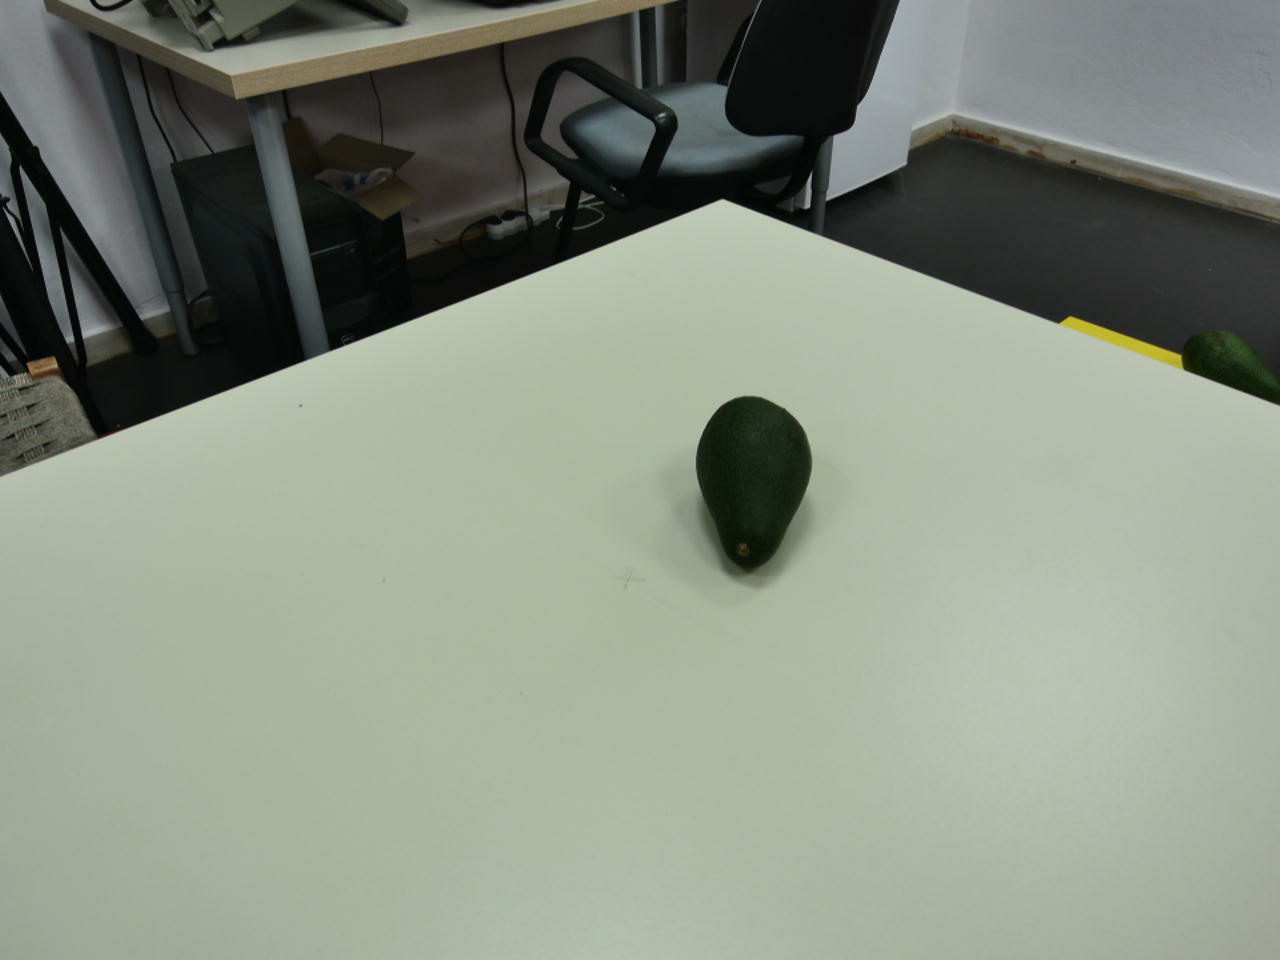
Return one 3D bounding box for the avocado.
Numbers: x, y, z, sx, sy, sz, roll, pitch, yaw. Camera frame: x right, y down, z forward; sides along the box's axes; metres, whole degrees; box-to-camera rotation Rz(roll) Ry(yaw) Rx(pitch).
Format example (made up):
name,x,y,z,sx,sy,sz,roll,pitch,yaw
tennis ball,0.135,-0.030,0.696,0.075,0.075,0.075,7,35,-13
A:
name,x,y,z,sx,sy,sz,roll,pitch,yaw
avocado,0.064,-0.004,0.600,0.073,0.071,0.109,16,40,21
